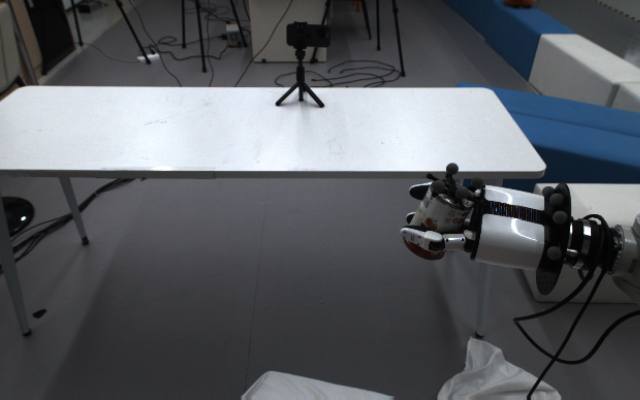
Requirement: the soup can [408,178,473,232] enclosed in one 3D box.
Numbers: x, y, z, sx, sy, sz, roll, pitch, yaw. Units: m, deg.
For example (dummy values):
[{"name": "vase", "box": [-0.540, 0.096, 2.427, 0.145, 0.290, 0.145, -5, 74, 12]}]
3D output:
[{"name": "soup can", "box": [0.173, 0.028, 0.706, 0.067, 0.101, 0.067, 14, 35, -10]}]
